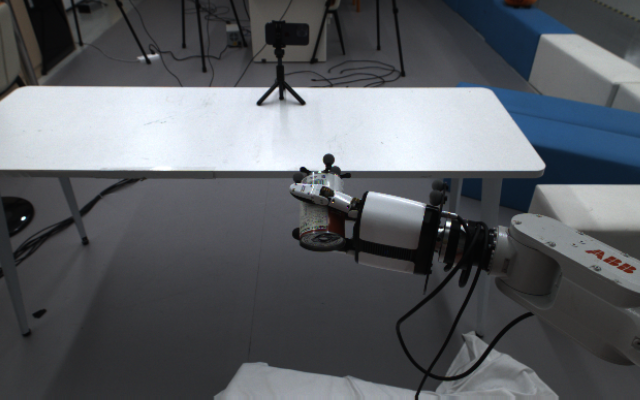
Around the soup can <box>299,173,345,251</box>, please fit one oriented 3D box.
[{"bbox_3d":[0.005,0.018,0.713,0.067,0.067,0.101,1,62,-2],"label":"soup can"}]
